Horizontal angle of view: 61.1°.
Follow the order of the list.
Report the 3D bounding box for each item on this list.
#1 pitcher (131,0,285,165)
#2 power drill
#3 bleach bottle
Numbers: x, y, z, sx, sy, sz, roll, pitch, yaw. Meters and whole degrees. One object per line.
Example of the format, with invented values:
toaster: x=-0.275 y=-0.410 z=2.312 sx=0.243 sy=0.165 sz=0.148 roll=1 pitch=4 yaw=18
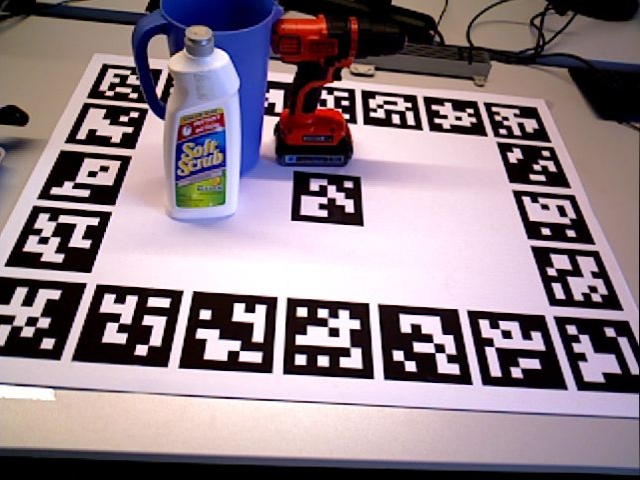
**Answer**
pitcher: x=-0.136 y=-0.211 z=0.701 sx=0.186 sy=0.248 sz=0.132 roll=-18 pitch=57 yaw=-21
power drill: x=0.029 y=-0.207 z=0.731 sx=0.183 sy=0.191 sz=0.056 roll=3 pitch=53 yaw=-12
bleach bottle: x=-0.144 y=-0.146 z=0.622 sx=0.102 sy=0.256 sz=0.067 roll=-2 pitch=52 yaw=-9
